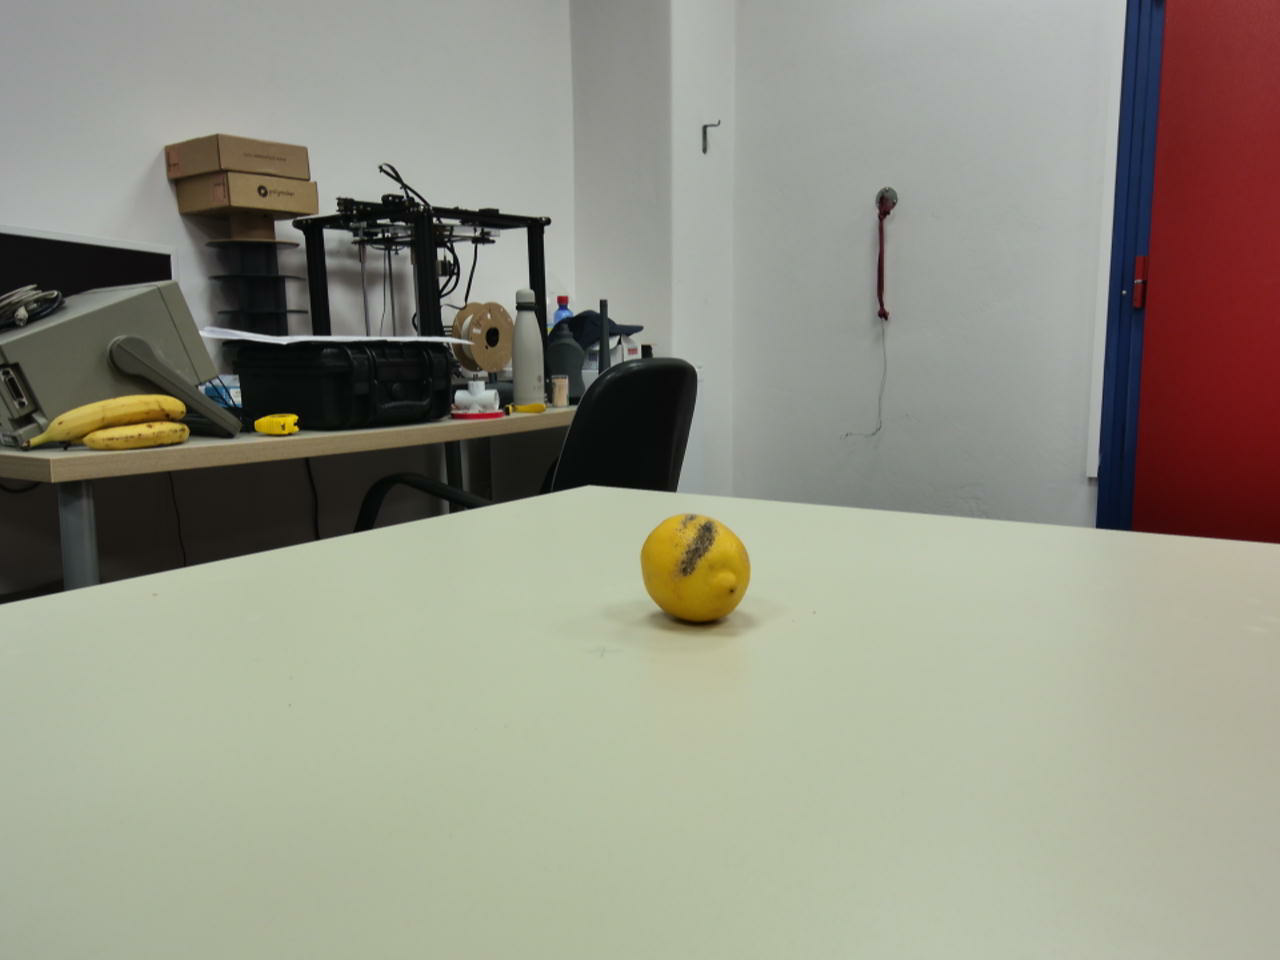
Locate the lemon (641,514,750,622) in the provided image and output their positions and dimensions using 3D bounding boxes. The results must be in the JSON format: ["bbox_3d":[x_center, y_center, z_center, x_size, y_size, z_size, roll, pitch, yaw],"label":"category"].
[{"bbox_3d":[0.030,0.047,0.538,0.061,0.056,0.058,3,6,28],"label":"lemon"}]
